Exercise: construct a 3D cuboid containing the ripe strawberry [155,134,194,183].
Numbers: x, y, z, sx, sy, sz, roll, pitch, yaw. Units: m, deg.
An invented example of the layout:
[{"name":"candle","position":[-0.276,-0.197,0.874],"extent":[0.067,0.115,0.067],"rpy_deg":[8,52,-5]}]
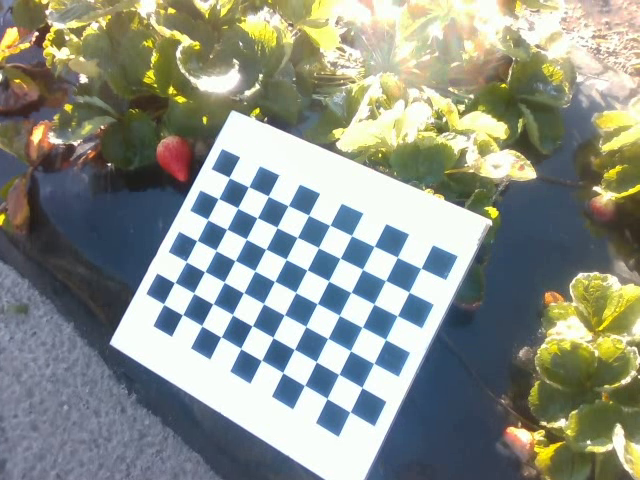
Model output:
[{"name":"ripe strawberry","position":[-0.173,-0.093,0.710],"extent":[0.040,0.065,0.040],"rpy_deg":[-23,-17,7]}]
